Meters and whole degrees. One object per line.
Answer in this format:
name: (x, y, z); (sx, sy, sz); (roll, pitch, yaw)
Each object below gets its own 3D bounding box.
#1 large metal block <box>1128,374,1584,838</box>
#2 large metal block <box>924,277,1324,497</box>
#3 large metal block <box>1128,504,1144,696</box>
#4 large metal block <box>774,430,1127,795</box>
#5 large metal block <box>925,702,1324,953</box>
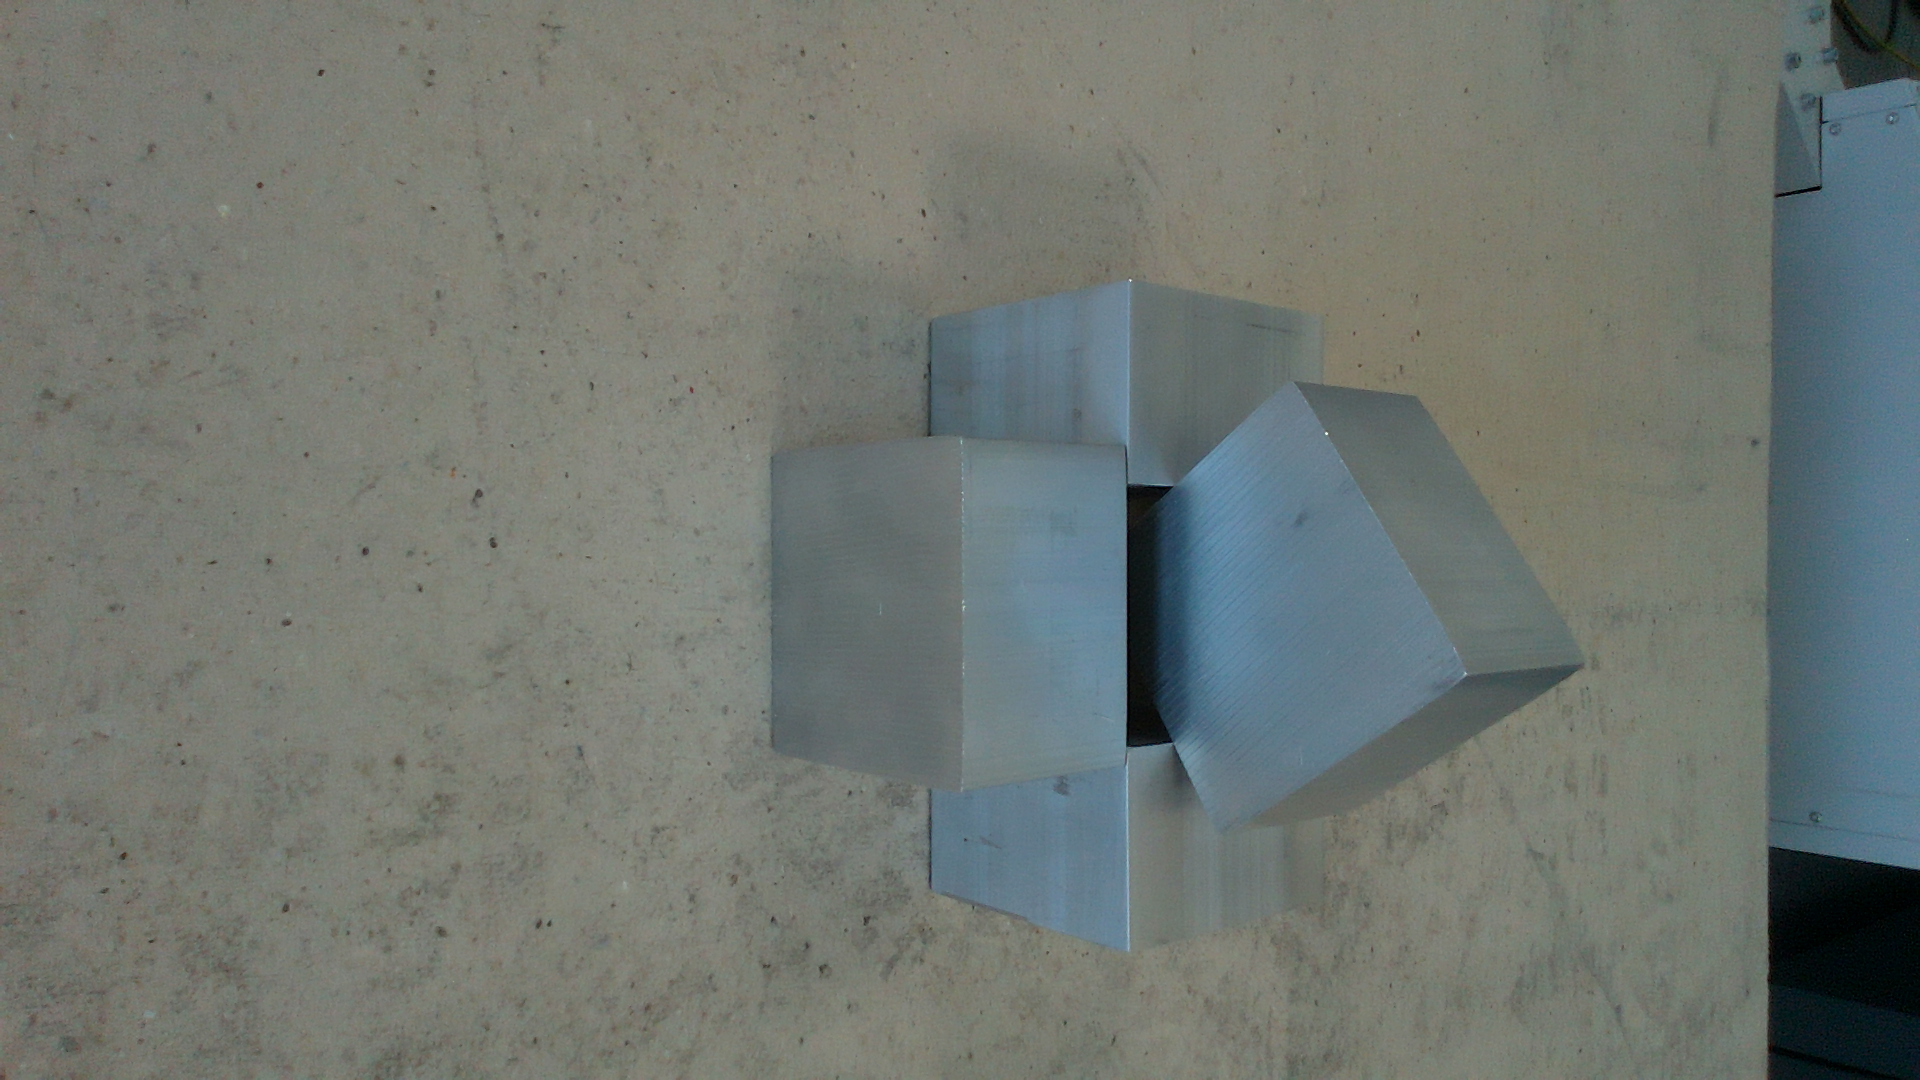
large metal block: (0.089, 0.017, 0.343); (0.050, 0.080, 0.080); (1, 55, -40)
large metal block: (0.046, -0.039, 0.392); (0.080, 0.080, 0.050); (1, 90, -40)
large metal block: (0.097, 0.023, 0.434); (0.050, 0.080, 0.080); (1, 89, -40)
large metal block: (-0.004, 0.016, 0.348); (0.050, 0.080, 0.080); (0, 90, -40)
large metal block: (0.046, 0.076, 0.392); (0.080, 0.080, 0.050); (0, 90, -40)
